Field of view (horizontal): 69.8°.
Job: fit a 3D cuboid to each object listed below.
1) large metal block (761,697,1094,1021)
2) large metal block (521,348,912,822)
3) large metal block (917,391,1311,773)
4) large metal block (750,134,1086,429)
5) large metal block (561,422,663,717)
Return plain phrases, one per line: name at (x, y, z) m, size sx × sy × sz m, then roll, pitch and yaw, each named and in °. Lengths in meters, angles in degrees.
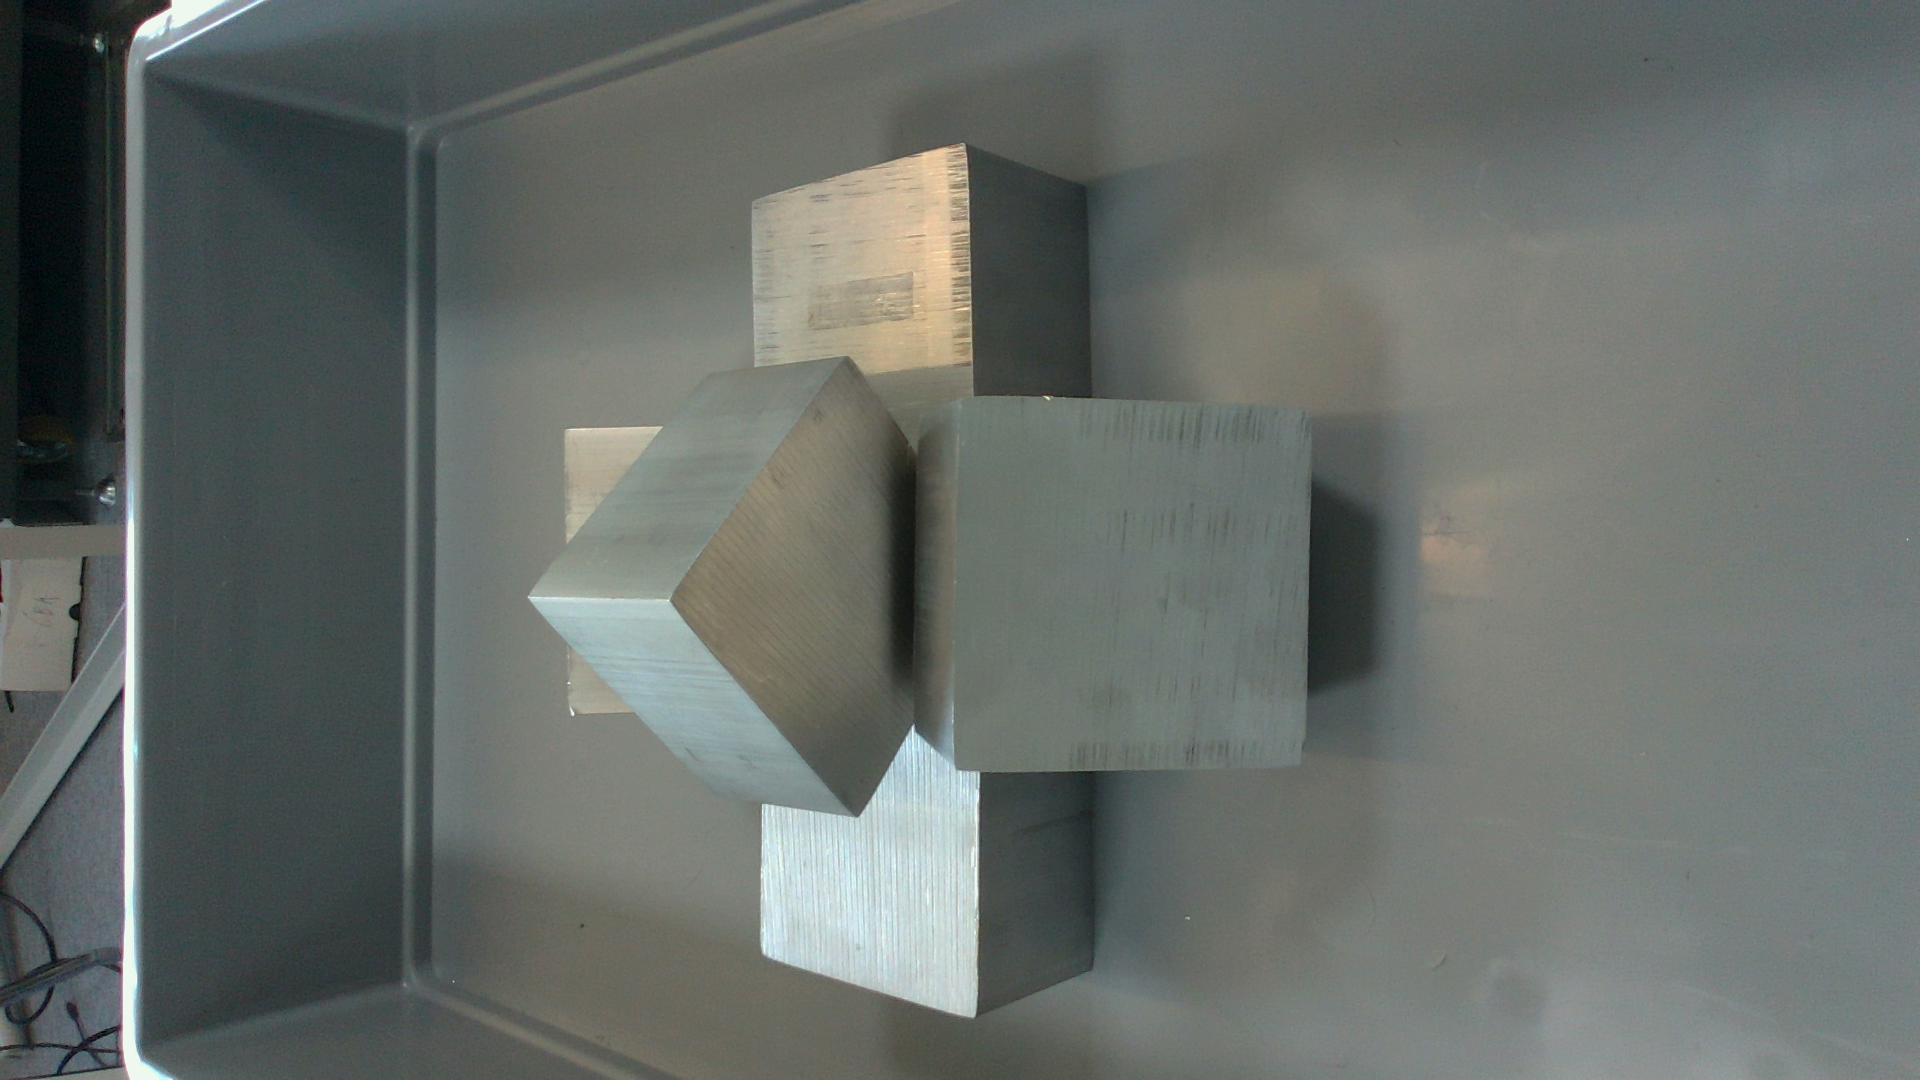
large metal block at (-0.010, 0.079, 0.386) m, size 0.080 × 0.050 × 0.080 m, roll 1°, pitch 91°, yaw 40°
large metal block at (-0.045, 0.011, 0.344) m, size 0.050 × 0.080 × 0.080 m, roll -1°, pitch 46°, yaw 39°
large metal block at (0.033, 0.009, 0.321) m, size 0.050 × 0.080 × 0.080 m, roll -175°, pitch 85°, yaw -79°
large metal block at (-0.012, -0.059, 0.384) m, size 0.080 × 0.050 × 0.080 m, roll -2°, pitch 89°, yaw 40°
large metal block at (-0.081, 0.008, 0.416) m, size 0.050 × 0.080 × 0.080 m, roll -1°, pitch 89°, yaw 4°
